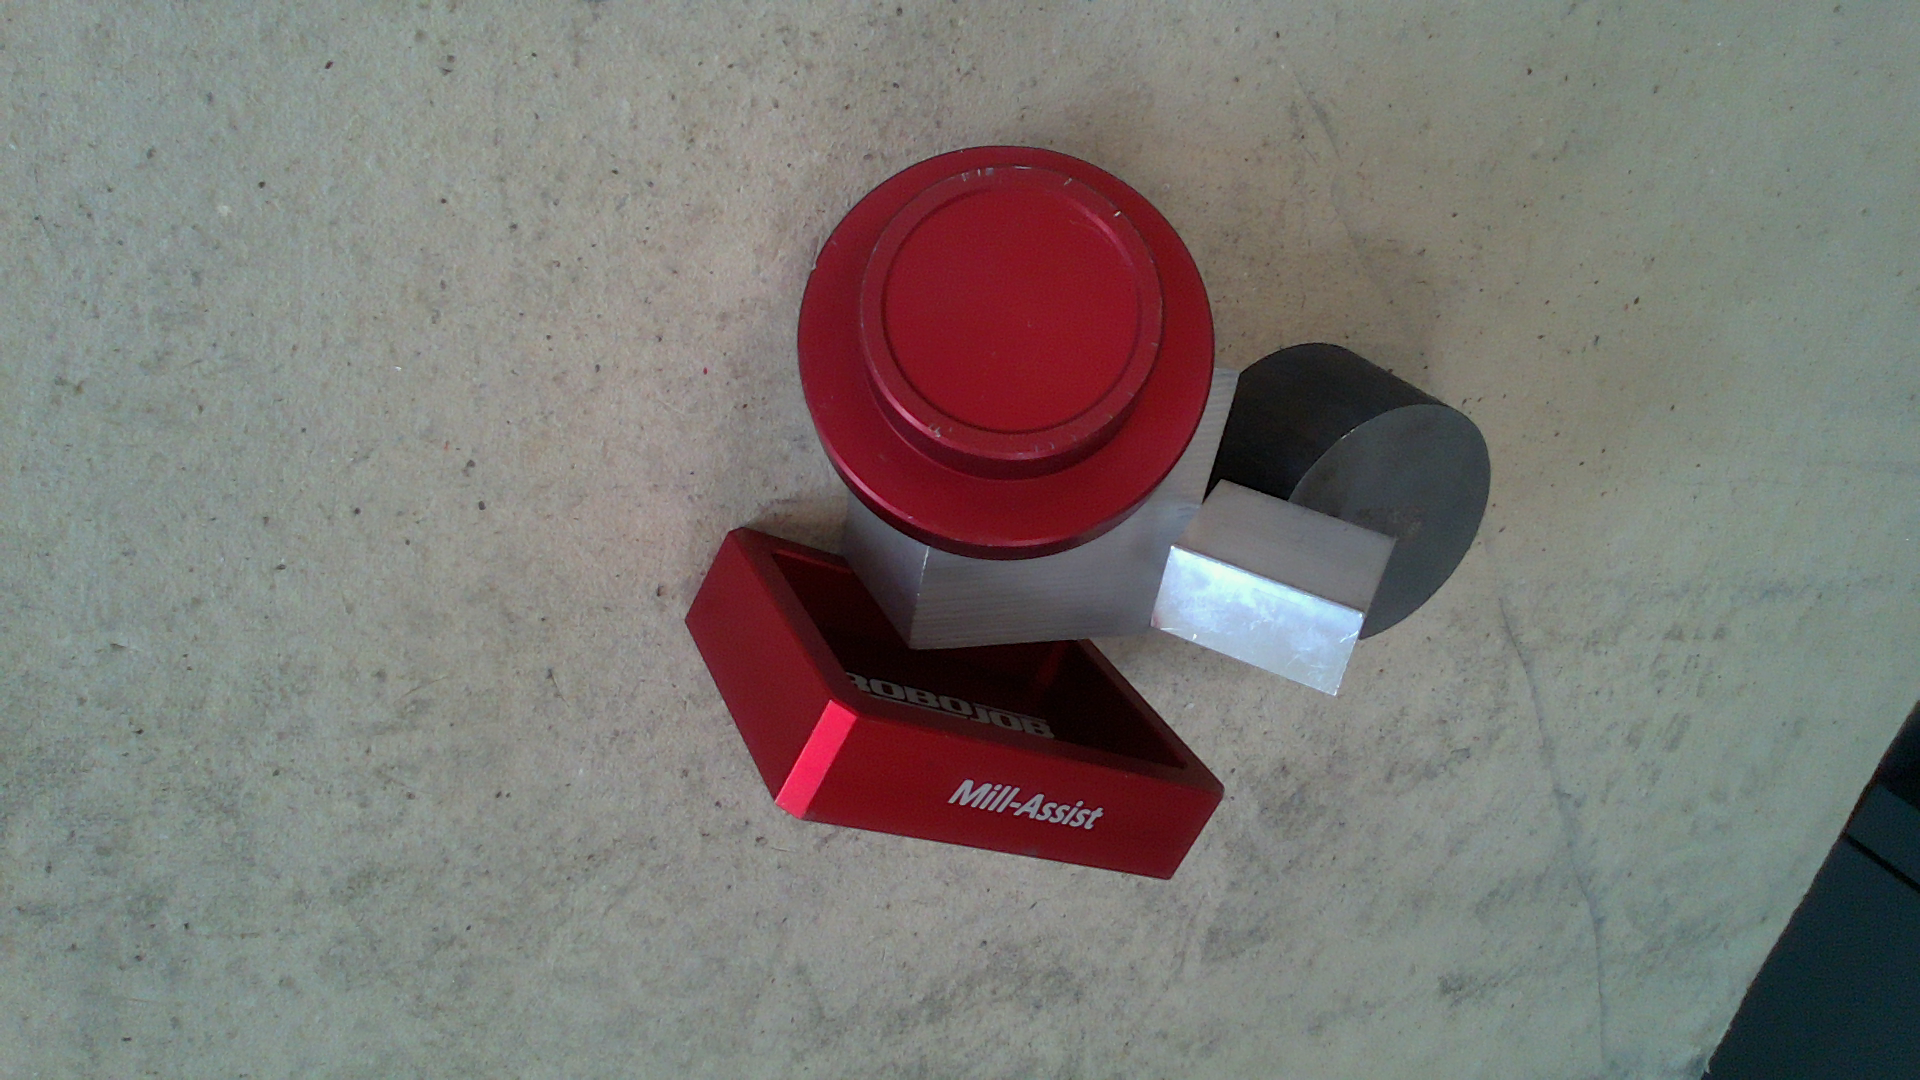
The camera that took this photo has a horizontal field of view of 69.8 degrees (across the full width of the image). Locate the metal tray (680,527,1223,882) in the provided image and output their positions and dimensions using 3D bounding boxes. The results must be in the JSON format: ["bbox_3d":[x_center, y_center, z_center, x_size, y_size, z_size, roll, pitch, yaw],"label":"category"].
[{"bbox_3d":[-0.002,0.045,0.374,0.130,0.090,0.030,18,109,-35],"label":"metal tray"}]

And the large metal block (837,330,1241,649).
[{"bbox_3d":[0.019,-0.020,0.372,0.080,0.050,0.080,-2,119,-28],"label":"large metal block"}]

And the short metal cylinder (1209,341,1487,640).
[{"bbox_3d":[0.114,-0.015,0.427,0.080,0.050,0.080,-14,124,-21],"label":"short metal cylinder"}]

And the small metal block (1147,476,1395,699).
[{"bbox_3d":[0.084,0.011,0.366,0.050,0.050,0.025,-44,150,-56],"label":"small metal block"}]

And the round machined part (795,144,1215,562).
[{"bbox_3d":[0.011,-0.047,0.319,0.098,0.098,0.042,-32,173,-8],"label":"round machined part"}]
